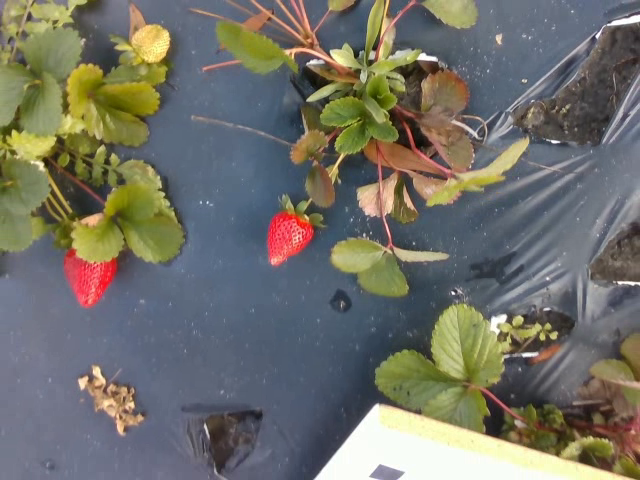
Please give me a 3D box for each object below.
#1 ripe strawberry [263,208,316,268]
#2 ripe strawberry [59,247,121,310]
[{"bbox_3d":[-0.027,0.003,0.514,0.044,0.052,0.041,34,-12,-34],"label":"ripe strawberry"},{"bbox_3d":[-0.181,0.031,0.529,0.050,0.050,0.046,14,-31,-20],"label":"ripe strawberry"}]
